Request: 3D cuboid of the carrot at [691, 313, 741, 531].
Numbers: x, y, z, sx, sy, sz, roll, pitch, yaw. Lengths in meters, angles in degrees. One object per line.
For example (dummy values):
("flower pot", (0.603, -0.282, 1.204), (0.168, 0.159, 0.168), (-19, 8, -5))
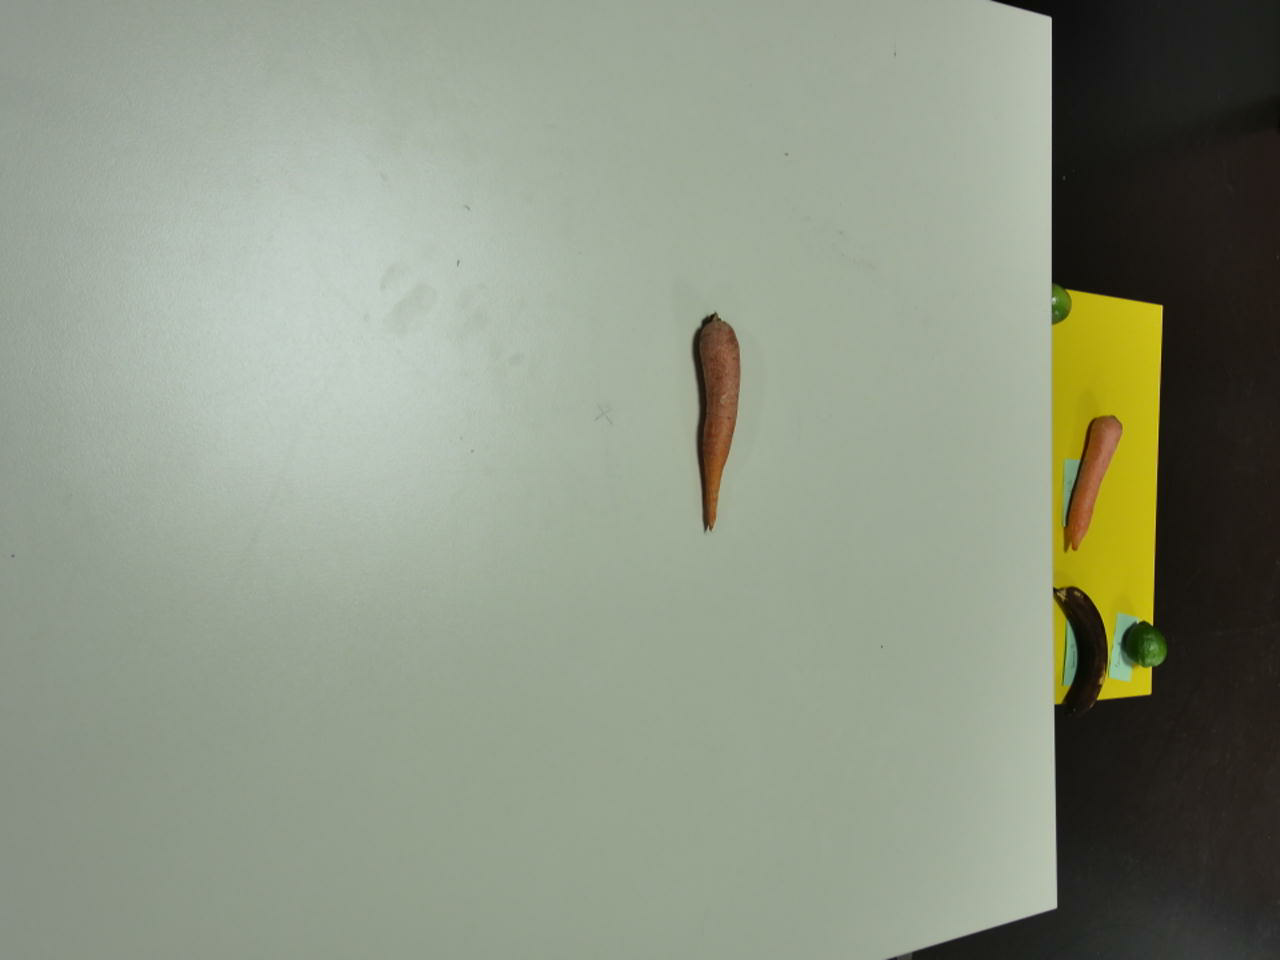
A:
("carrot", (0.059, -0.042, 0.734), (0.031, 0.029, 0.163), (-1, 91, -28))
